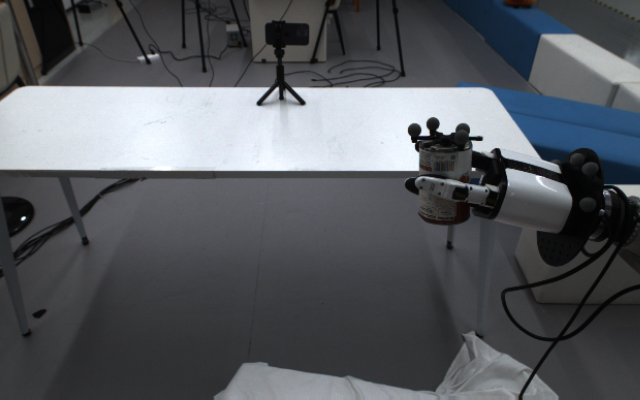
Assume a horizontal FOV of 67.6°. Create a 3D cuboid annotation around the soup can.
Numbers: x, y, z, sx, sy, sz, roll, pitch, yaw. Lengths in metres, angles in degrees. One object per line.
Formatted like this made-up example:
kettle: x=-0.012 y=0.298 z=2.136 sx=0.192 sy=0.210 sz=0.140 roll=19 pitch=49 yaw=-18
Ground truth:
soup can: x=0.165 y=-0.027 z=0.636 sx=0.067 sy=0.101 sz=0.067 roll=-4 pitch=21 yaw=1
